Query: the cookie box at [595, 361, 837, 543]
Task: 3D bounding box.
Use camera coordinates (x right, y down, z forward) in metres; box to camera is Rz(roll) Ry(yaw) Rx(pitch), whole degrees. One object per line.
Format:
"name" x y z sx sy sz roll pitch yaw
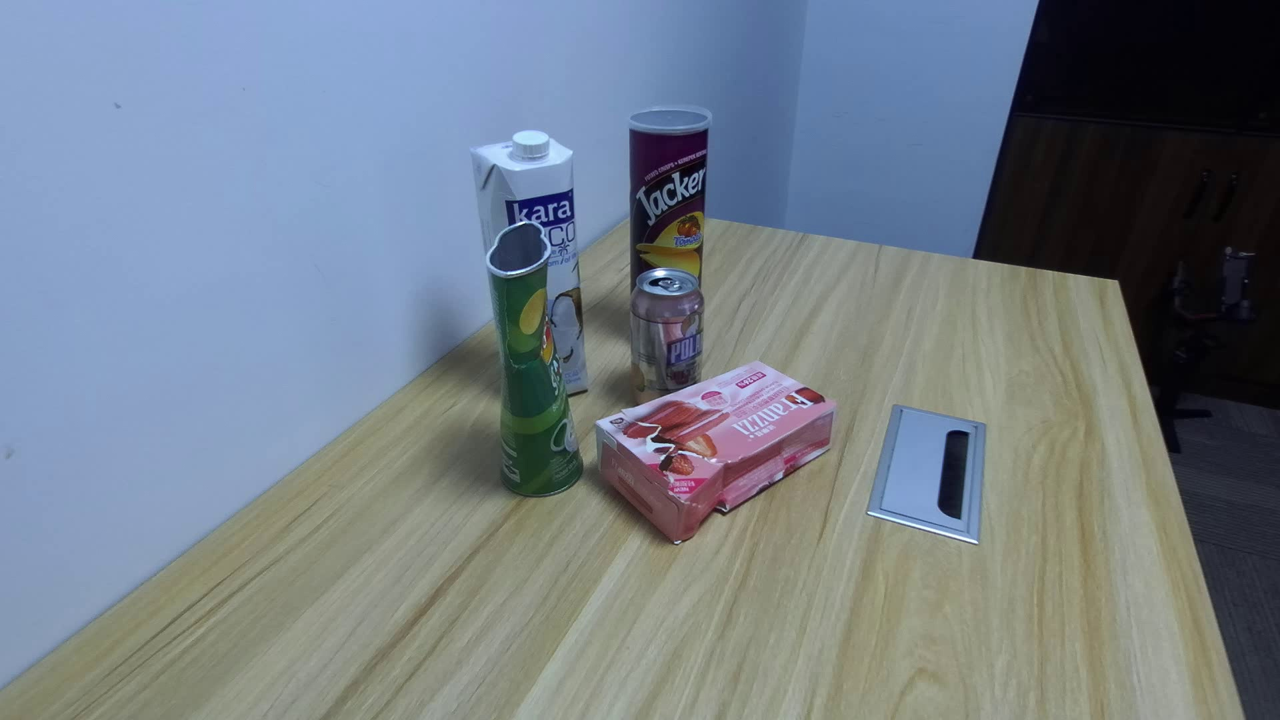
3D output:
"cookie box" 0.067 0.062 0.580 0.186 0.059 0.104 -23 40 -34

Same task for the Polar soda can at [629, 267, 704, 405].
"Polar soda can" 0.026 -0.017 0.651 0.067 0.126 0.067 -1 30 1

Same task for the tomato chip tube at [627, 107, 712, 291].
"tomato chip tube" 0.029 -0.125 0.715 0.078 0.234 0.078 0 30 0

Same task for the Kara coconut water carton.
"Kara coconut water carton" -0.095 -0.079 0.633 0.077 0.245 0.075 -17 34 -25

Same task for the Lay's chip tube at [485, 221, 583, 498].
"Lay's chip tube" -0.083 0.006 0.541 0.069 0.200 0.074 -24 38 -33
